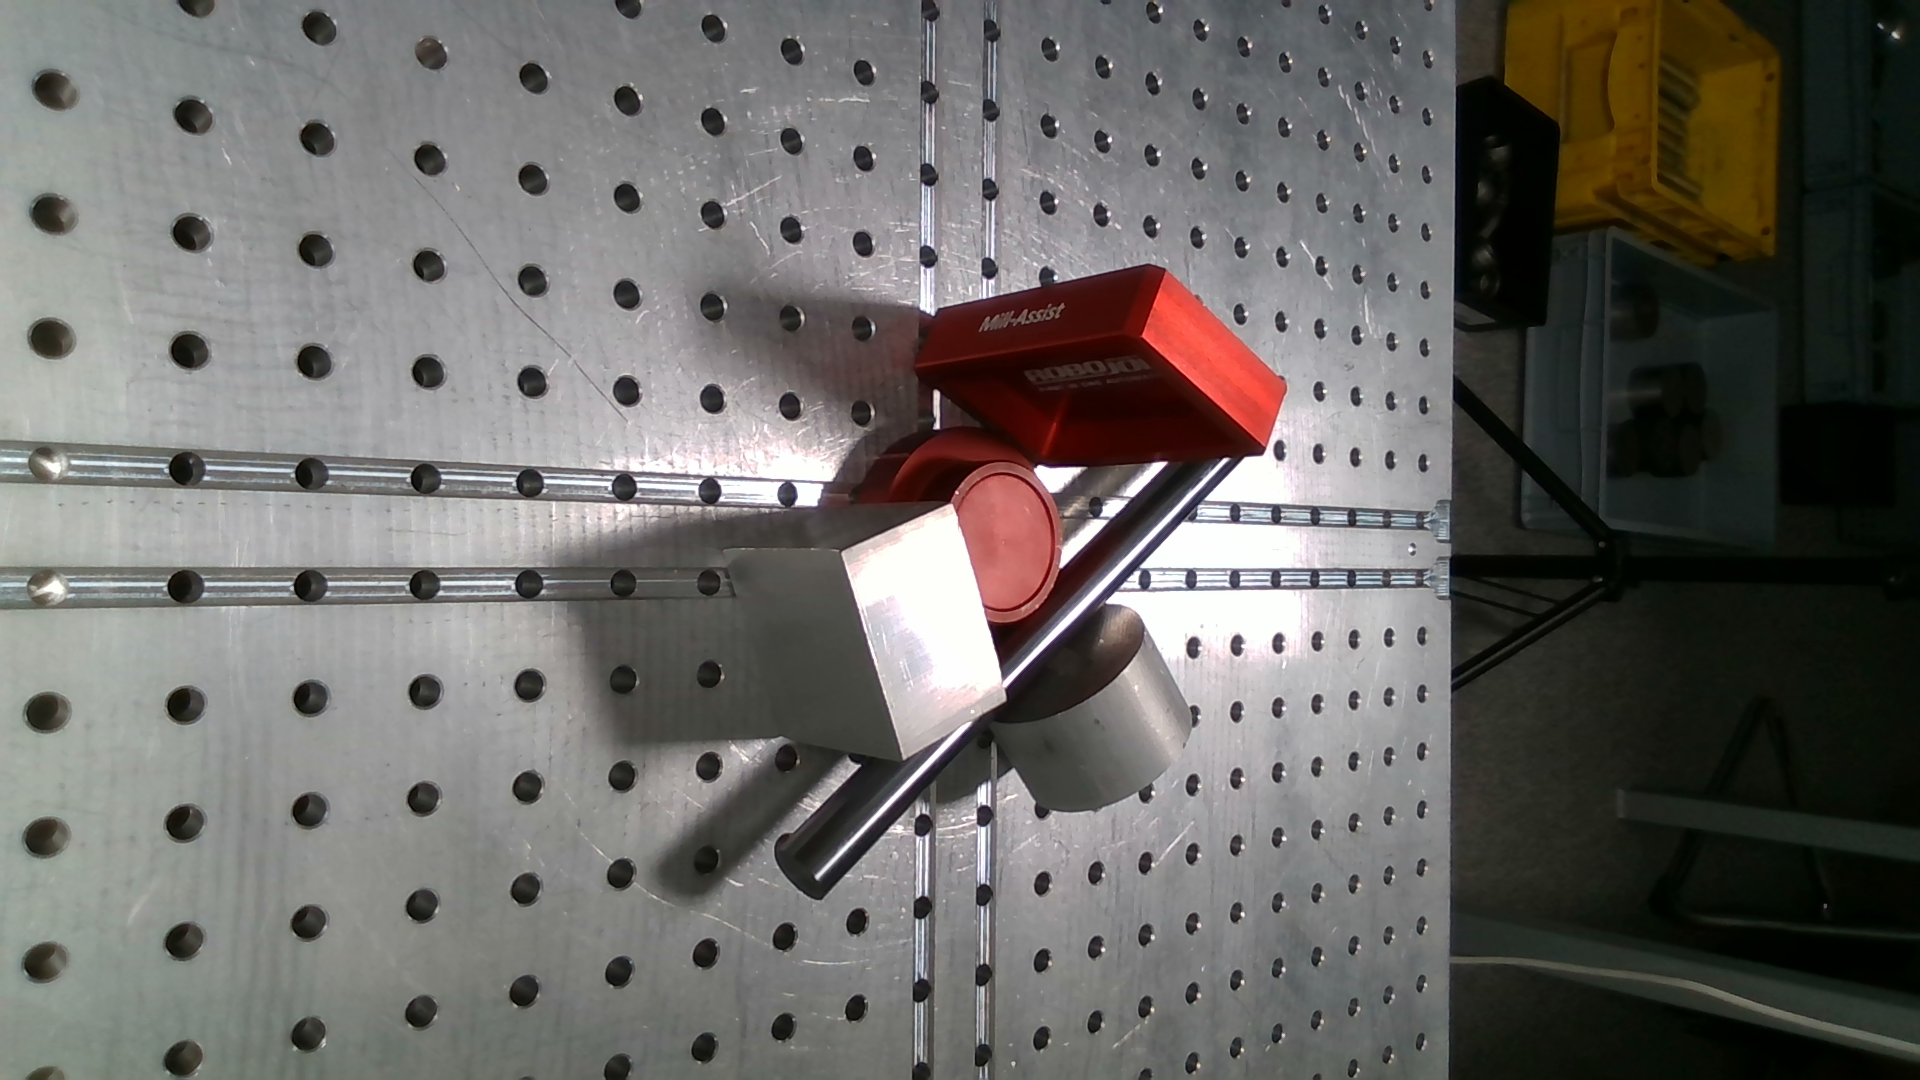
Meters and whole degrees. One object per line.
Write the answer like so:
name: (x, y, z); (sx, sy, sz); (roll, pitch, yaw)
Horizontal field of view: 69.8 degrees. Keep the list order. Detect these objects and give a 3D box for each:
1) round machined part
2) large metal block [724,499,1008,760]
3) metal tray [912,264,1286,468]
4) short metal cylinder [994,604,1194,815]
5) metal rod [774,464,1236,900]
round machined part: (0.004, 0.001, 0.578); (0.098, 0.042, 0.098); (0, 90, -40)
large metal block: (-0.036, 0.031, 0.520); (0.050, 0.080, 0.080); (-25, 106, -38)
metal tray: (0.054, -0.066, 0.564); (0.090, 0.130, 0.030); (34, 69, -35)
short metal cylinder: (0.054, 0.072, 0.594); (0.080, 0.080, 0.050); (-45, 117, -31)
metal rod: (0.034, 0.038, 0.588); (0.299, 0.025, 0.025); (-42, 116, -32)
